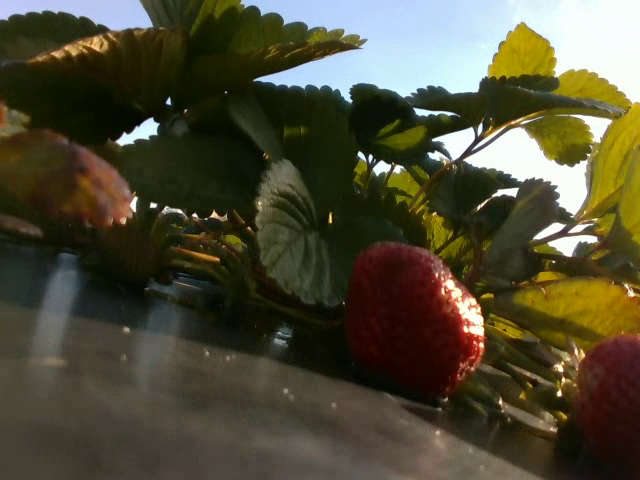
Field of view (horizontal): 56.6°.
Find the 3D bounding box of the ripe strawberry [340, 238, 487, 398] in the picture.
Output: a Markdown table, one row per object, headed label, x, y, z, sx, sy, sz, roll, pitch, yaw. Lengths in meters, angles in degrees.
| label | x | y | z | sx | sy | sz | roll | pitch | yaw |
| --- | --- | --- | --- | --- | --- | --- | --- | --- | --- |
| ripe strawberry | 0.028 | 0.022 | 0.172 | 0.039 | 0.054 | 0.048 | -28 | 43 | -2 |
